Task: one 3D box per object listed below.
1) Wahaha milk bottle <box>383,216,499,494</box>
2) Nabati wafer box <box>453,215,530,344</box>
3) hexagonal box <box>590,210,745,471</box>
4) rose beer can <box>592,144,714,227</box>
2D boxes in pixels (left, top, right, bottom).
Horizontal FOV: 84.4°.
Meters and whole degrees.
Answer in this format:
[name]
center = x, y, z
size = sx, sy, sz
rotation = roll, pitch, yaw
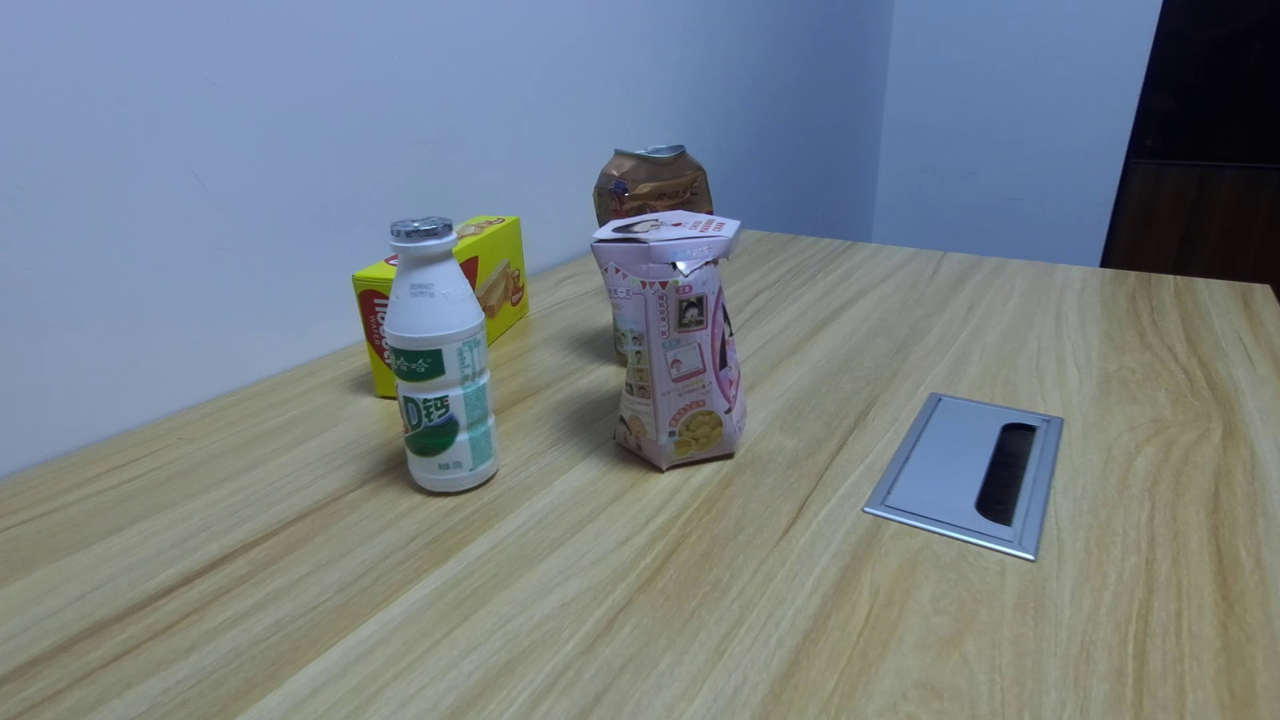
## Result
[Wahaha milk bottle]
center = -0.109, -0.001, 0.385
size = 0.053, 0.147, 0.053
rotation = -2, 23, 1
[Nabati wafer box]
center = -0.152, -0.053, 0.592
size = 0.042, 0.093, 0.203
rotation = 3, 24, 16
[hexagonal box]
center = 0.018, -0.013, 0.421
size = 0.091, 0.134, 0.089
rotation = -18, 25, -31
[rose beer can]
center = 0.013, -0.072, 0.522
size = 0.068, 0.161, 0.074
rotation = 0, 6, 35
